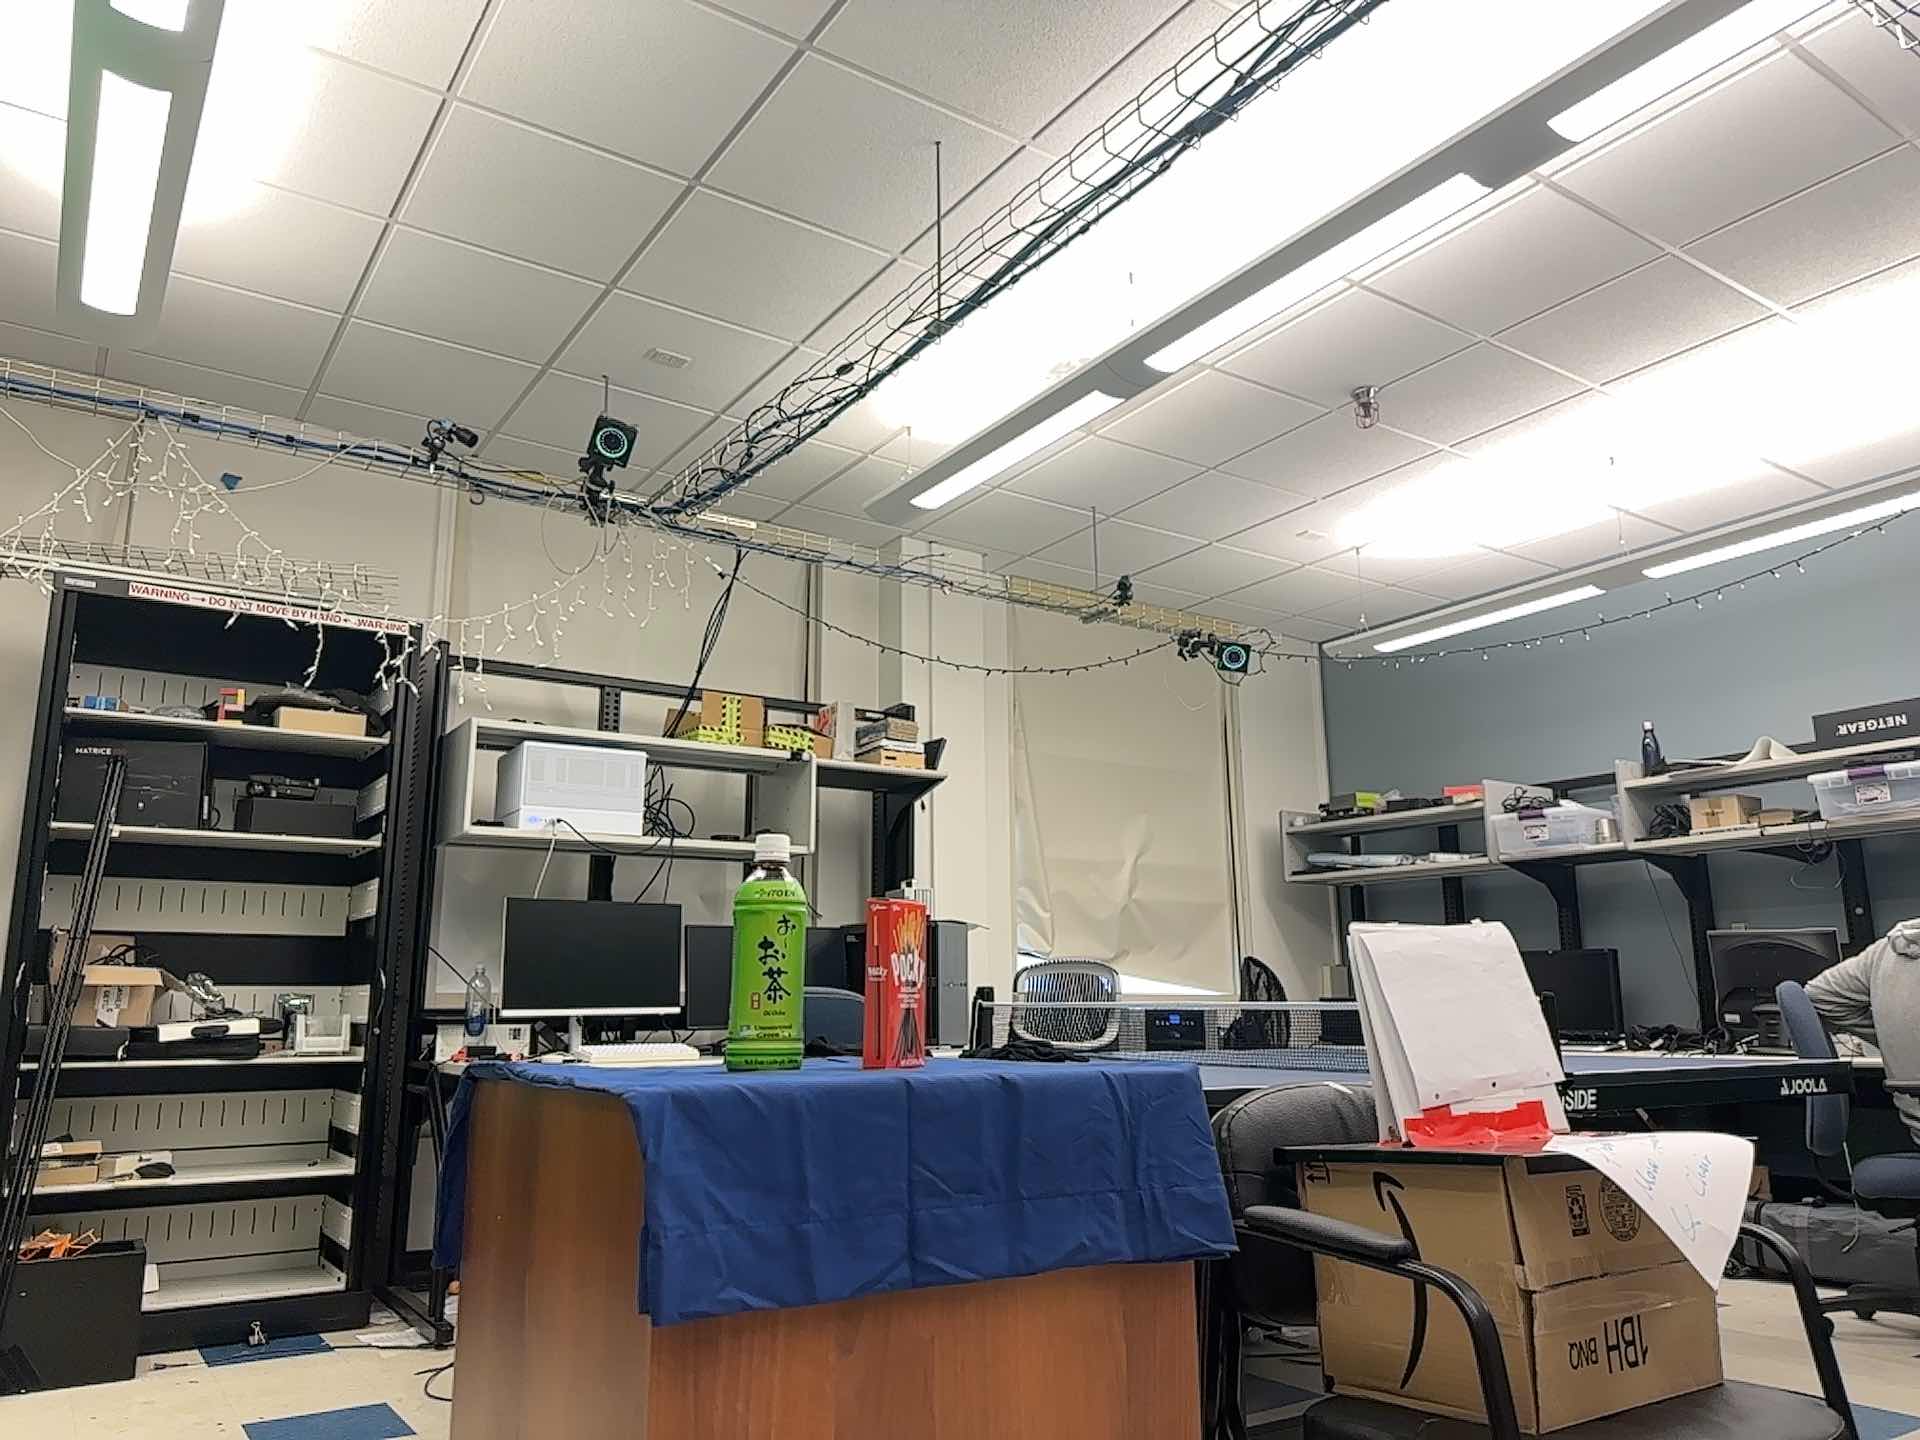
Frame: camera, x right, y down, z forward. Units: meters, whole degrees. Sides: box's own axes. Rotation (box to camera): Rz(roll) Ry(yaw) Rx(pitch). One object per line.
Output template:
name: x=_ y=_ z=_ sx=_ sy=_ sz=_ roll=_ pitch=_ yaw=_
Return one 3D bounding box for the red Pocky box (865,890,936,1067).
red Pocky box: x=-0.053 y=0.235 z=1.225 sx=0.028 sy=0.155 sz=0.083 roll=-4 pitch=-12 yaw=27

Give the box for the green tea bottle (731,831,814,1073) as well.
green tea bottle: x=-0.168 y=0.205 z=1.202 sx=0.073 sy=0.212 sz=0.073 roll=-1 pitch=-11 yaw=0
